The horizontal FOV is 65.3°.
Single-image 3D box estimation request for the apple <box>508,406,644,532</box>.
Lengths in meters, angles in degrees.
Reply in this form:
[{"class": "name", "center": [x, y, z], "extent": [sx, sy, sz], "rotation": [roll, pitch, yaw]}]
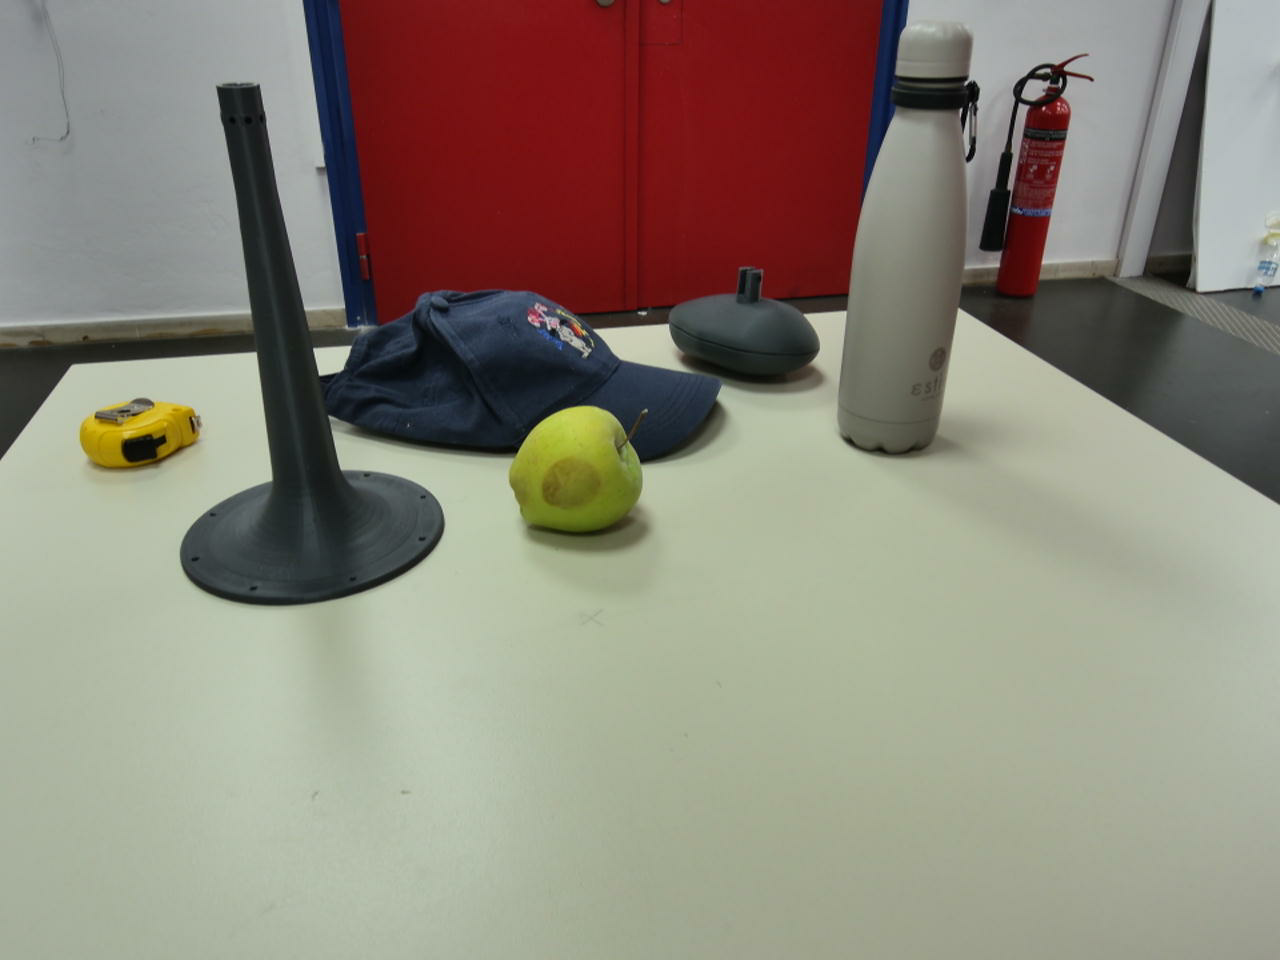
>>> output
[{"class": "apple", "center": [-0.037, -0.007, 0.596], "extent": [0.077, 0.075, 0.072], "rotation": [16, 30, 28]}]
